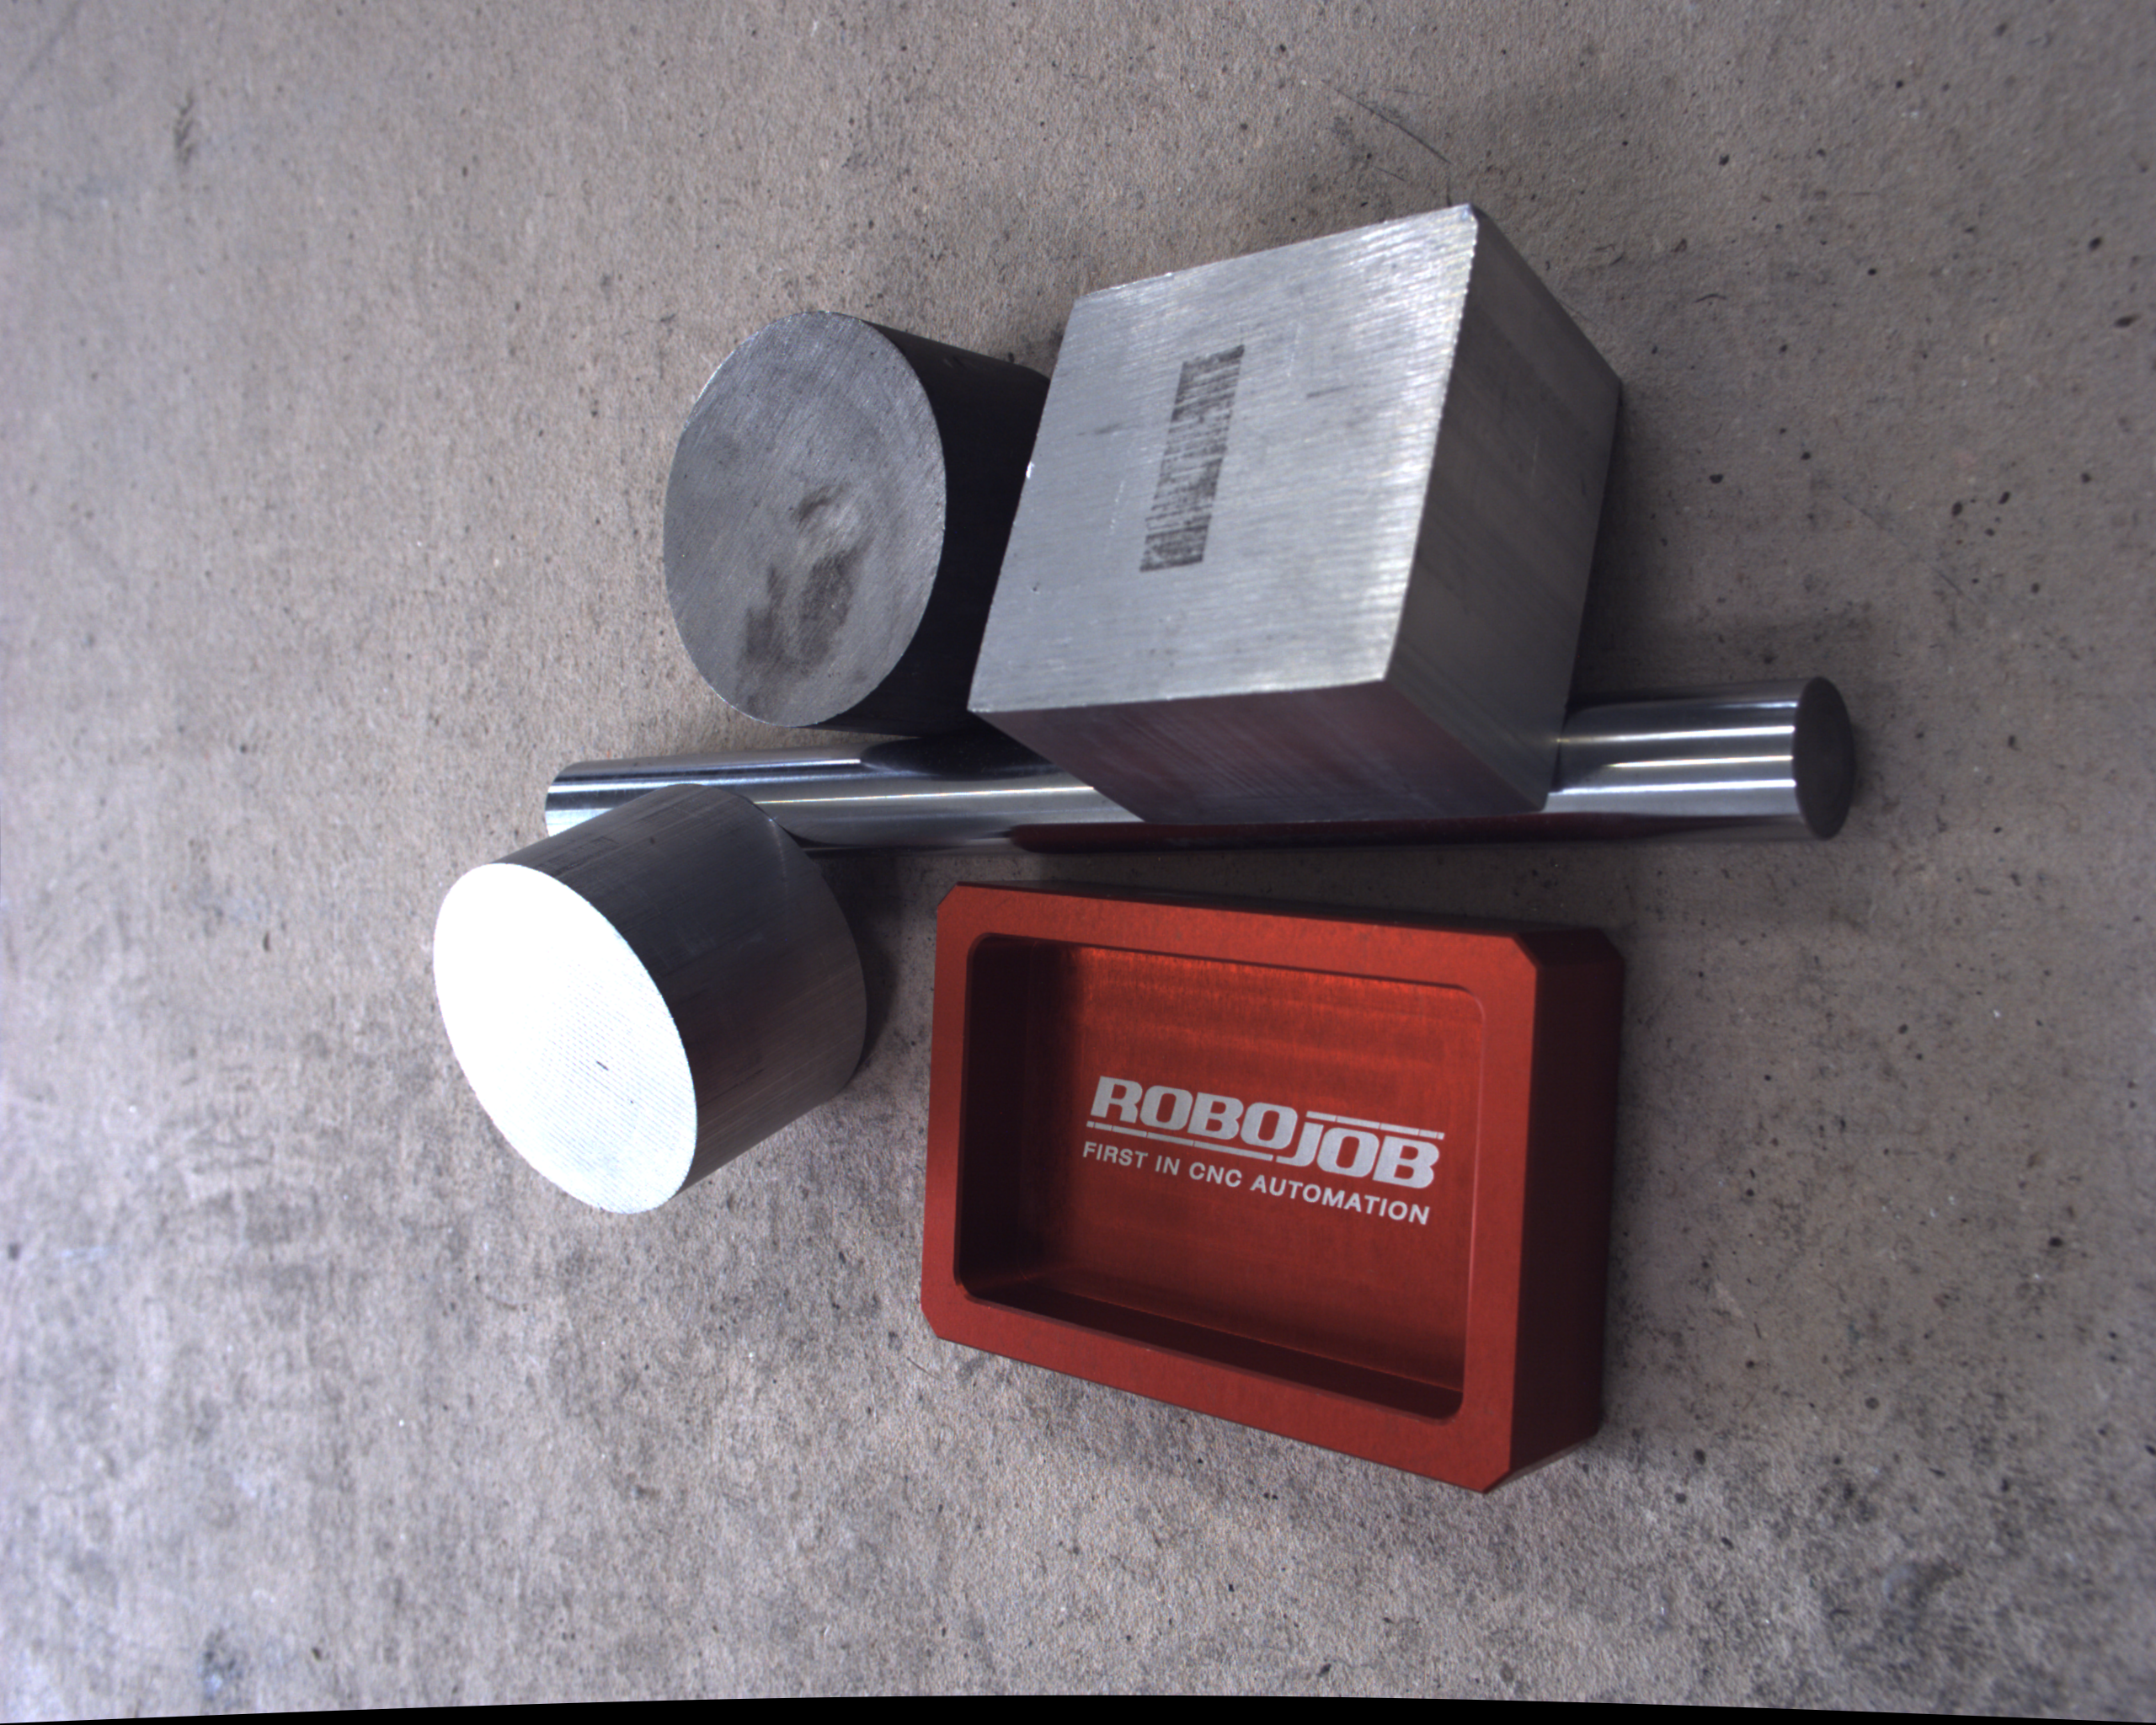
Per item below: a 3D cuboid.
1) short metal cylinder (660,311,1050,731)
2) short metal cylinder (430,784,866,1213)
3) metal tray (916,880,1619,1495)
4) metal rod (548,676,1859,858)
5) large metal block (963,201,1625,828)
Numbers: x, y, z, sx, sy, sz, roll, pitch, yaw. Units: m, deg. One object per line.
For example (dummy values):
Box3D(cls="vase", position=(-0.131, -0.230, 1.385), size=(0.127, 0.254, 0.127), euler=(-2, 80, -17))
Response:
Box3D(cls="short metal cylinder", position=(-0.039, -0.066, 0.422), size=(0.080, 0.050, 0.080), euler=(0, 89, 40))
Box3D(cls="short metal cylinder", position=(-0.093, 0.028, 0.451), size=(0.080, 0.050, 0.079), euler=(18, 121, 32))
Box3D(cls="metal tray", position=(0.029, 0.052, 0.378), size=(0.130, 0.030, 0.089), euler=(5, 93, 39))
Box3D(cls="metal rod", position=(-0.002, -0.014, 0.410), size=(0.300, 0.025, 0.025), euler=(-1, 90, 40))
Box3D(cls="large metal block", position=(0.036, -0.053, 0.344), size=(0.080, 0.050, 0.080), euler=(-1, 68, 40))
